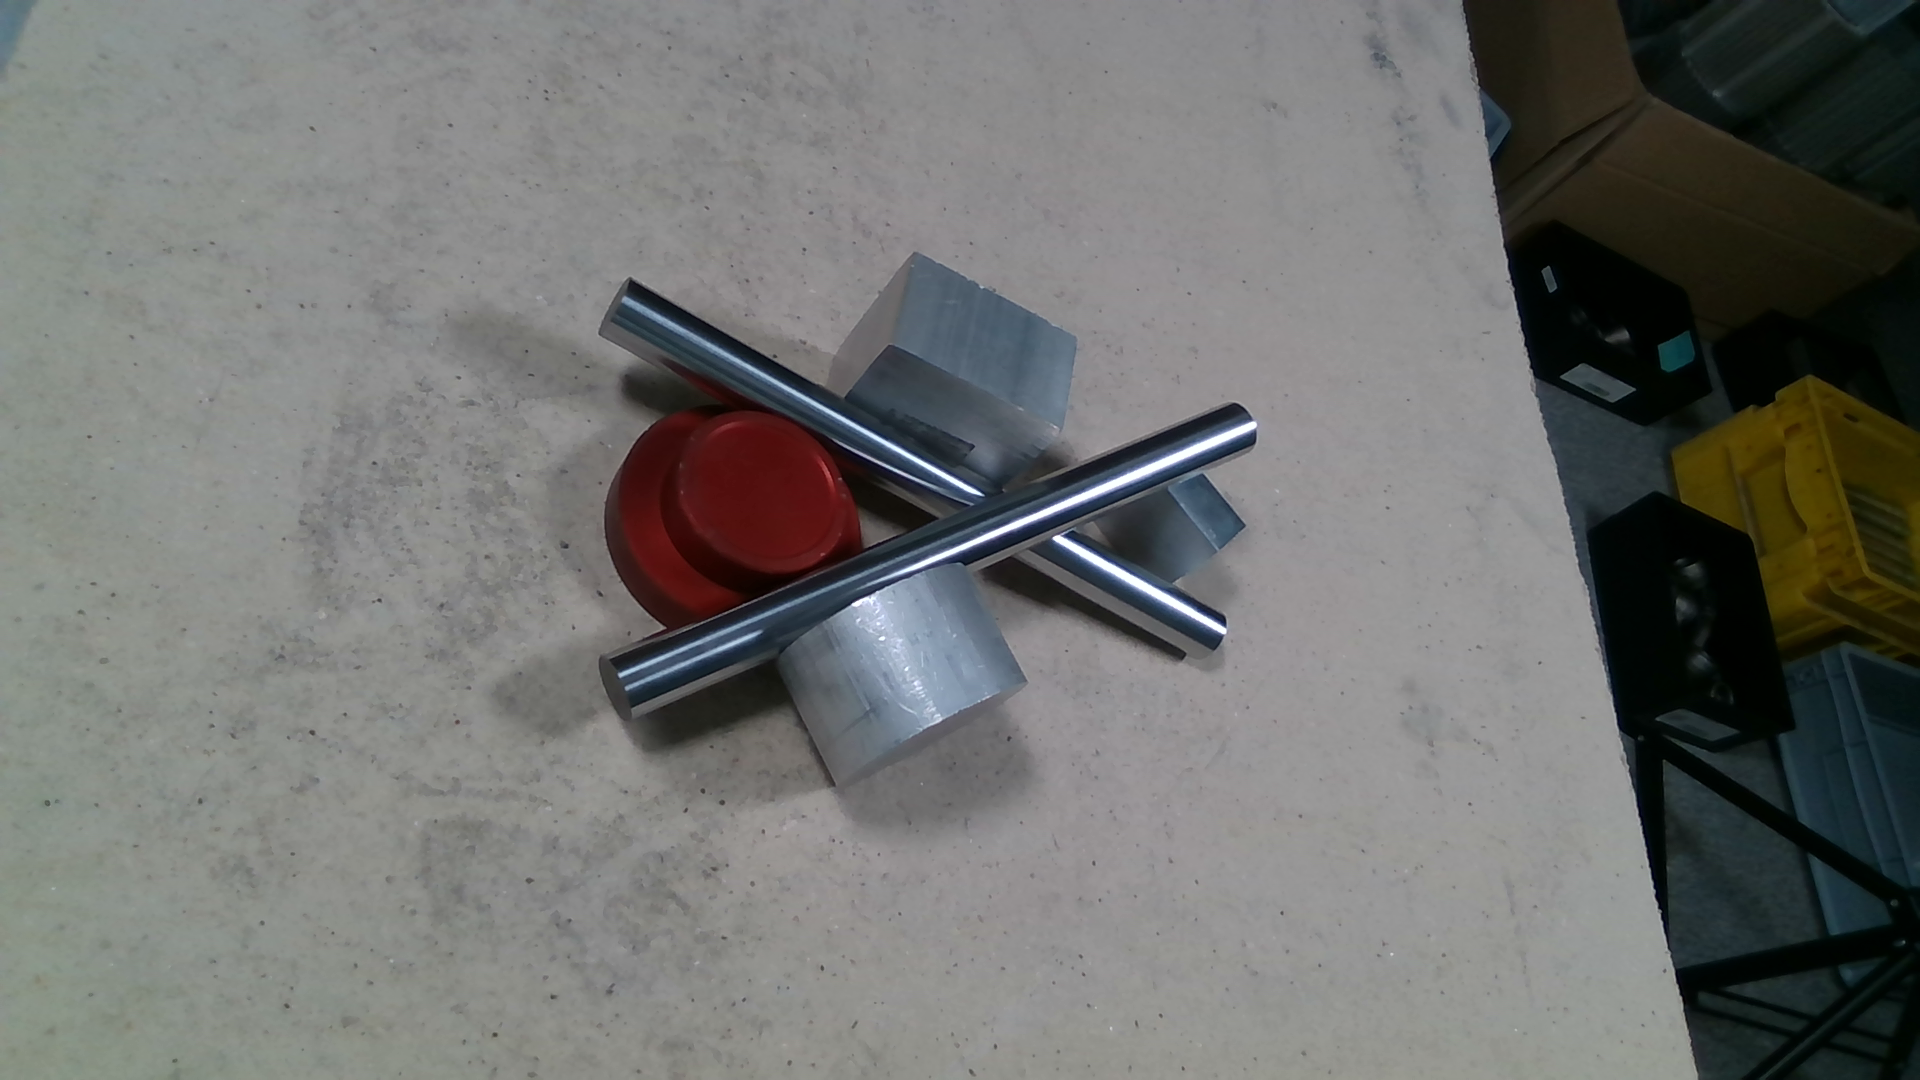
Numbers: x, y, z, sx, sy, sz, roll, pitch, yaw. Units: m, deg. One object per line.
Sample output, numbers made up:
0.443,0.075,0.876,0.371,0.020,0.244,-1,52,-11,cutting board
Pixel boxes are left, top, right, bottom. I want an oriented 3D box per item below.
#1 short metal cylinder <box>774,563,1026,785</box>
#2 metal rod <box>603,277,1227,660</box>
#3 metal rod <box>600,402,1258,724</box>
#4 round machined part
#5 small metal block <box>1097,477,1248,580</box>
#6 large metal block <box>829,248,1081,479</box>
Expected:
-0.022,0.050,0.511,0.080,0.080,0.050,-20,77,-37,short metal cylinder
-0.007,-0.022,0.574,0.300,0.025,0.025,28,53,-24,metal rod
0.003,0.000,0.544,0.300,0.025,0.025,-23,78,-29,metal rod
-0.084,-0.010,0.530,0.098,0.042,0.098,14,59,-25,round machined part
0.094,-0.010,0.633,0.050,0.050,0.025,51,51,2,small metal block
-0.007,-0.064,0.581,0.080,0.080,0.050,25,55,-18,large metal block
